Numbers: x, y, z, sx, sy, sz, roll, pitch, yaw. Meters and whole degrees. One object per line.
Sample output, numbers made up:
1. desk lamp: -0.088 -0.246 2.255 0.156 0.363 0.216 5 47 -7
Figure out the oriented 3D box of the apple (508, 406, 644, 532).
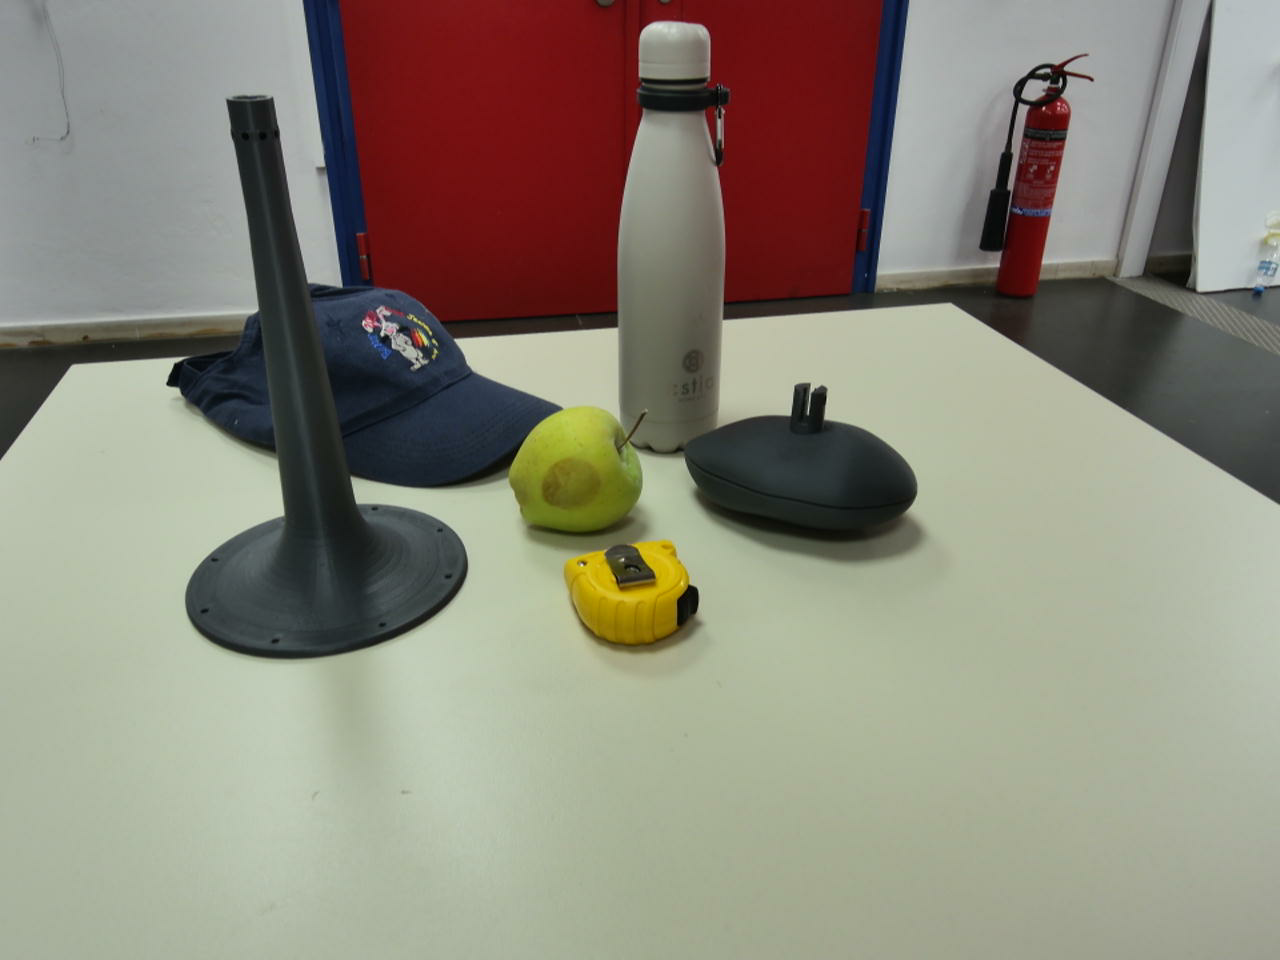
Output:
1. apple: -0.037 -0.007 0.596 0.077 0.075 0.072 16 30 28
